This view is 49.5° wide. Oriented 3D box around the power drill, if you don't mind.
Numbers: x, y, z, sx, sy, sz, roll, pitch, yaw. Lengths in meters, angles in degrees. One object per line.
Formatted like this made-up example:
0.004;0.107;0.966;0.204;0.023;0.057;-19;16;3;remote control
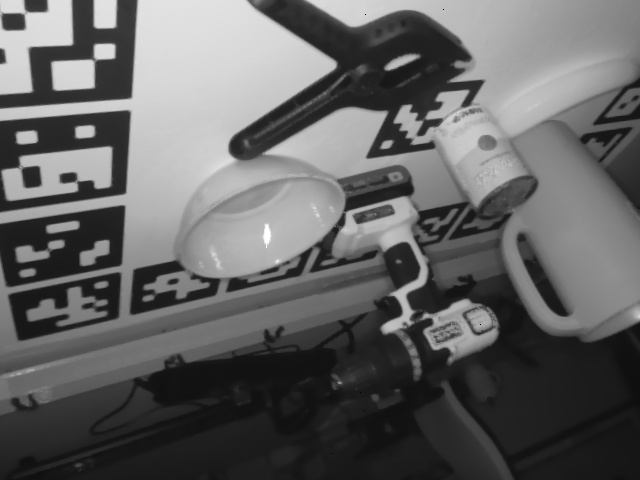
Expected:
0.091;0.045;0.692;0.187;0.187;0.056;-13;148;-22;power drill

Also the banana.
0.305;-0.160;0.737;0.198;0.039;0.074;-23;159;-4;banana

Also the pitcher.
0.316;-0.011;0.769;0.189;0.242;0.133;-24;154;-5;pitcher

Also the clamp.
0.066;-0.142;0.550;0.206;0.036;0.163;-13;144;-24;clamp

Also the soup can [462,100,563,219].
0.196;-0.082;0.703;0.068;0.102;0.067;-20;158;-7;soup can

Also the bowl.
-0.025;-0.035;0.640;0.163;0.055;0.160;-21;149;-12;bowl
